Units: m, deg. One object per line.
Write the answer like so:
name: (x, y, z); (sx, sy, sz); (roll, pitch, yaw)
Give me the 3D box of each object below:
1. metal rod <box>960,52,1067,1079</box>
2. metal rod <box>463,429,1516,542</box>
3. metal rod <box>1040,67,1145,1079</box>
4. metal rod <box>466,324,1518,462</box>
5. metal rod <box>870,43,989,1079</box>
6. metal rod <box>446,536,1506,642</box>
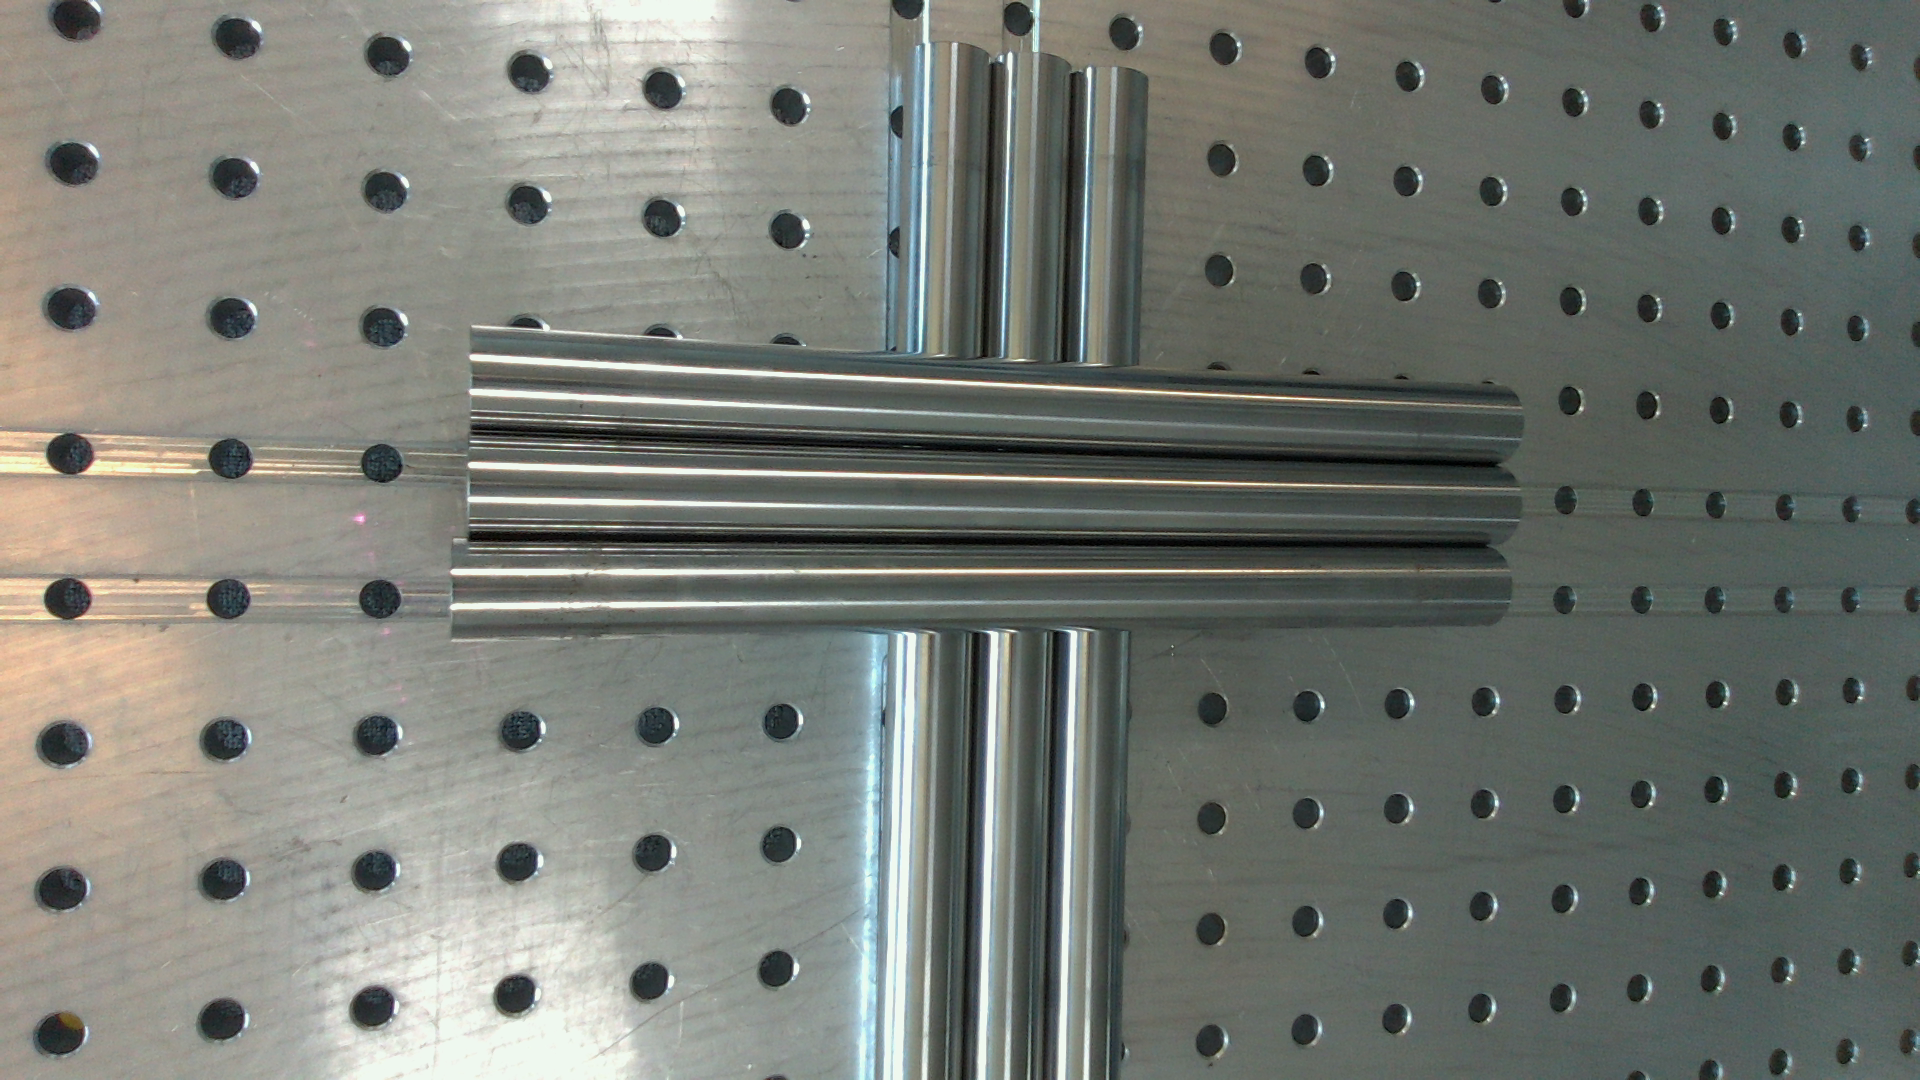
metal rod: (0.014, 0.012, 0.401); (0.025, 0.025, 0.300); (2, 89, -20)
metal rod: (0.023, -0.012, 0.378); (0.301, 0.025, 0.025); (1, 90, -20)
metal rod: (0.038, 0.013, 0.410); (0.025, 0.025, 0.300); (2, 89, -20)
metal rod: (0.024, -0.037, 0.378); (0.301, 0.025, 0.025); (1, 90, -20)
metal rod: (-0.009, 0.012, 0.393); (0.025, 0.025, 0.300); (2, 89, -20)
metal rod: (0.020, 0.013, 0.377); (0.301, 0.025, 0.025); (1, 90, -20)
